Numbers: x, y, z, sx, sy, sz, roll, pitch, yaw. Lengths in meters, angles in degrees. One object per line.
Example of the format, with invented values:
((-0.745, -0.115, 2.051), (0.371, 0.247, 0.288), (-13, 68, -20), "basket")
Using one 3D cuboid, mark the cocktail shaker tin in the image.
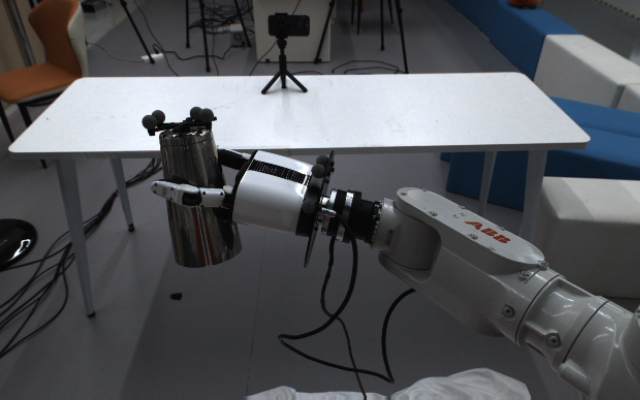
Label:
((-0.162, -0.008, 0.638), (0.093, 0.170, 0.093), (-6, 19, 2), "cocktail shaker tin")
